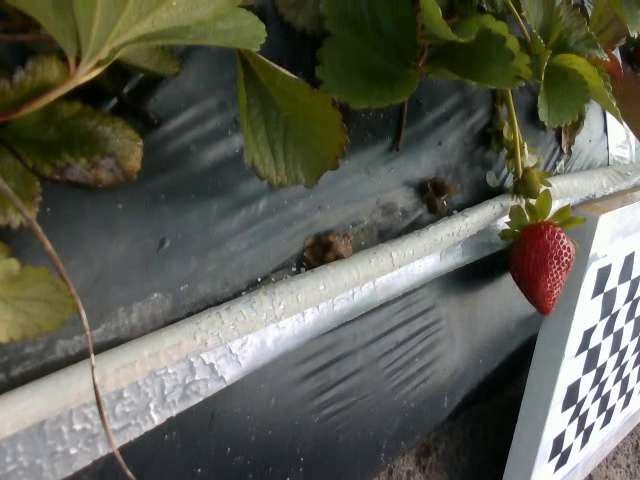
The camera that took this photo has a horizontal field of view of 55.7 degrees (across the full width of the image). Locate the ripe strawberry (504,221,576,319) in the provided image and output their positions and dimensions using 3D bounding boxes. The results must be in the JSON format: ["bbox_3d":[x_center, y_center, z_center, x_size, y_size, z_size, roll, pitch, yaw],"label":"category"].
[{"bbox_3d":[0.111,0.015,0.302,0.030,0.053,0.047,-4,-29,31],"label":"ripe strawberry"}]
